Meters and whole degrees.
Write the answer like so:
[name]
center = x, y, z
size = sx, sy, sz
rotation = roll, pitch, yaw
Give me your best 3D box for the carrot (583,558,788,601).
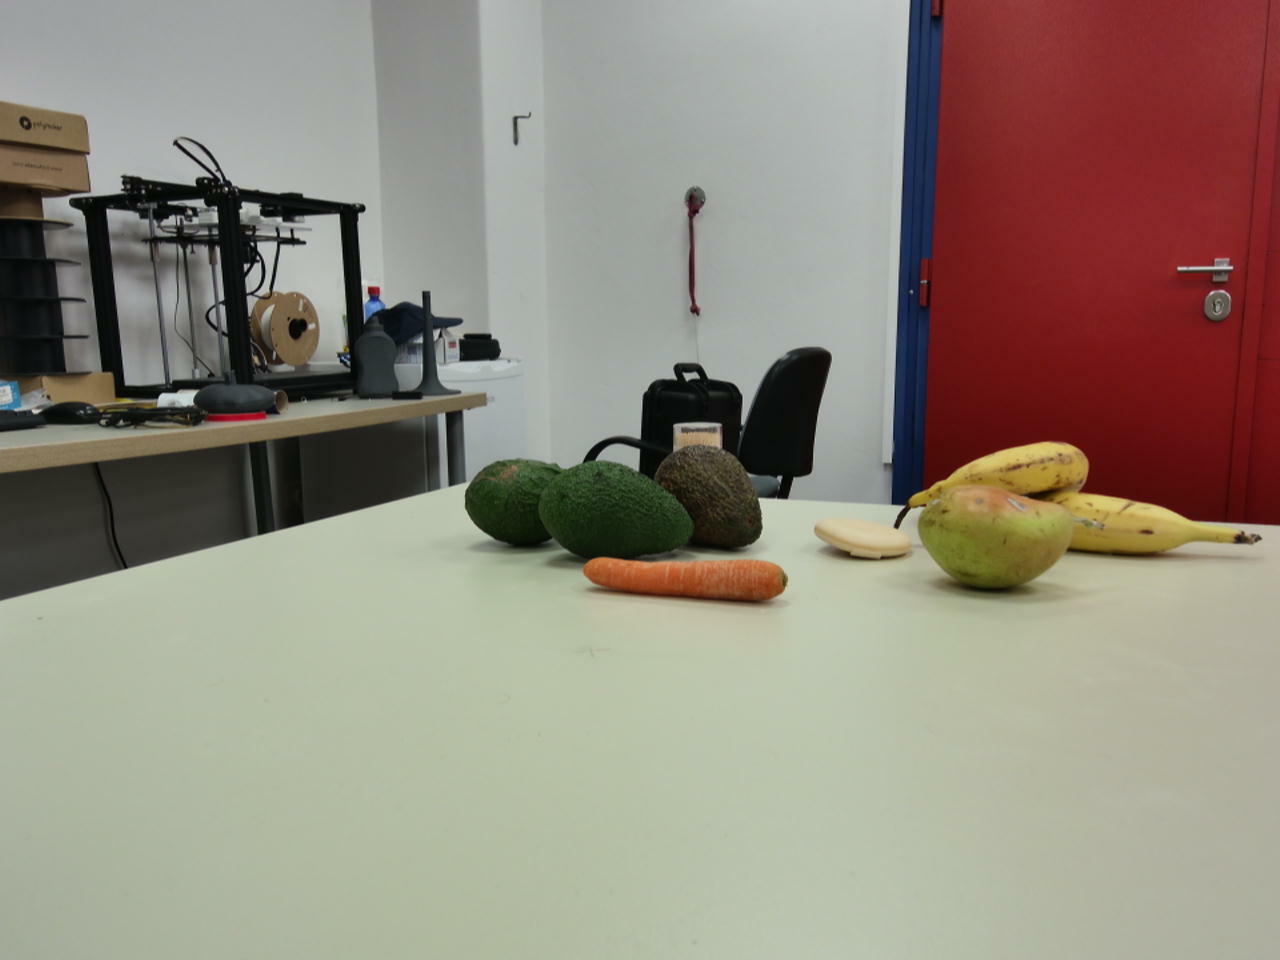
[carrot]
center = 0.024, 0.055, 0.578
size = 0.122, 0.023, 0.024
rotation = 3, 7, 21
